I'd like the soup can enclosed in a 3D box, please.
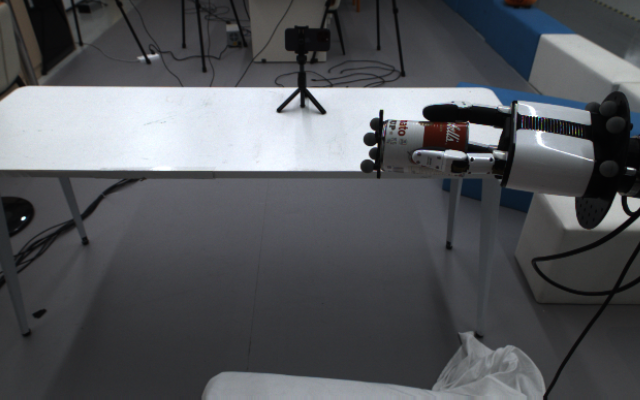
[{"bbox_3d":[0.133,-0.066,0.609,0.101,0.067,0.067,5,34,13],"label":"soup can"}]
